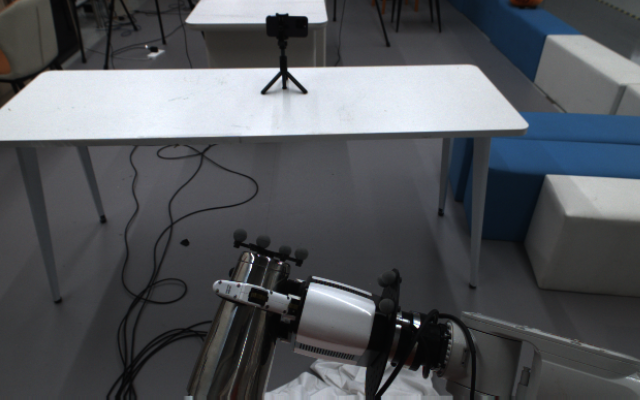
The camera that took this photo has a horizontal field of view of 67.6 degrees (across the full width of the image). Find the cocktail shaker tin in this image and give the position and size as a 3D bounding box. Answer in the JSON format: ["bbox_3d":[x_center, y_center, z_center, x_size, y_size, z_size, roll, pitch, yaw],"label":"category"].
[{"bbox_3d":[-0.087,0.152,0.587,0.093,0.093,0.170,13,78,15],"label":"cocktail shaker tin"}]
